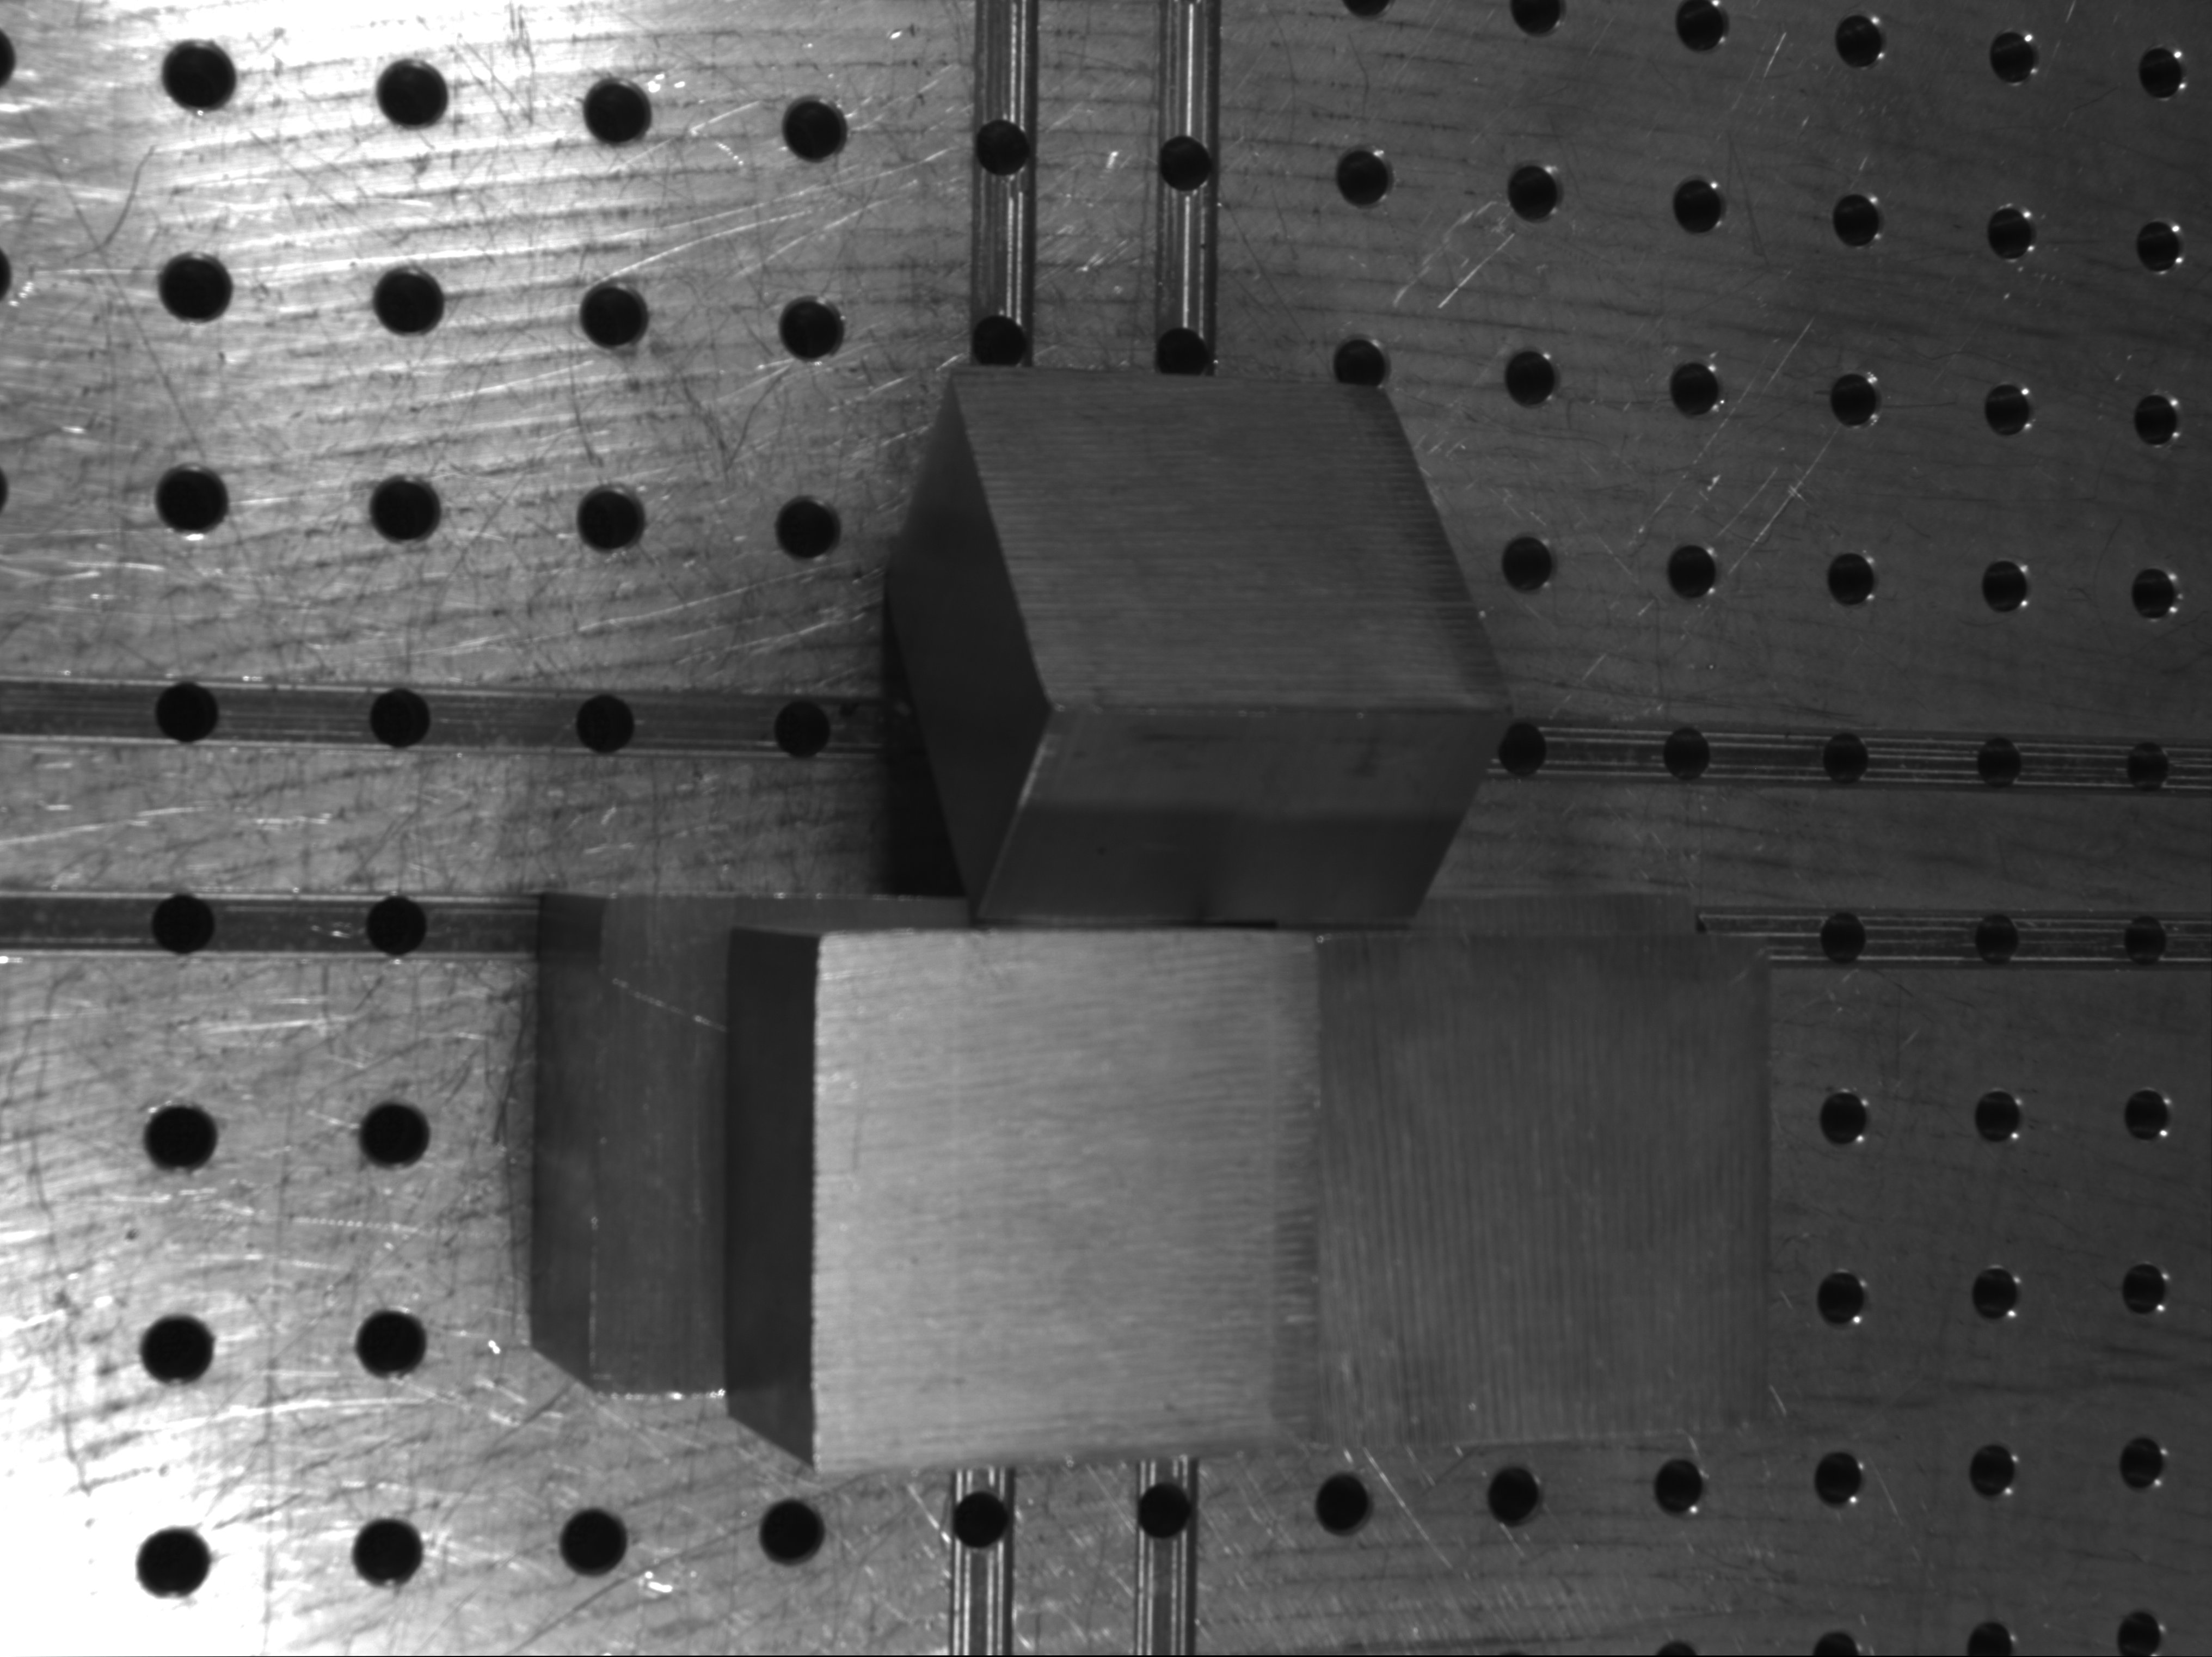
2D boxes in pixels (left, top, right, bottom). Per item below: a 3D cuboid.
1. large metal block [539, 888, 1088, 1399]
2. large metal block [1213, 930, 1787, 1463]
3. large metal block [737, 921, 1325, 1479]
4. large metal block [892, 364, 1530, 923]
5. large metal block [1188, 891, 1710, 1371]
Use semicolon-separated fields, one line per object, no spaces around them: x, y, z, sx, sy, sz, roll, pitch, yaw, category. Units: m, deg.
-0.050;0.051;0.615;0.080;0.050;0.080;2;89;-20;large metal block
0.064;0.058;0.601;0.080;0.050;0.080;0;90;-20;large metal block
-0.013;0.055;0.572;0.080;0.050;0.080;0;90;-20;large metal block
0.015;-0.031;0.616;0.080;0.050;0.080;1;48;-20;large metal block
0.061;0.052;0.654;0.080;0.050;0.080;-1;90;-20;large metal block
